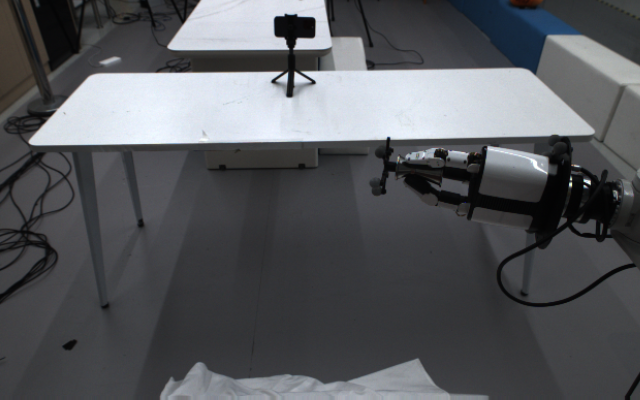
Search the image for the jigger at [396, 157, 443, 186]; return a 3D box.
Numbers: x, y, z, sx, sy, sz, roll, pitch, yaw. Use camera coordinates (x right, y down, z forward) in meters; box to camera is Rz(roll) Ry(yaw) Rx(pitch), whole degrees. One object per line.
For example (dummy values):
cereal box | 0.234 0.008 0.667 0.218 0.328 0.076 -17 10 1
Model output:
jigger | 0.156 -0.050 0.726 0.071 0.043 0.043 8 35 12
